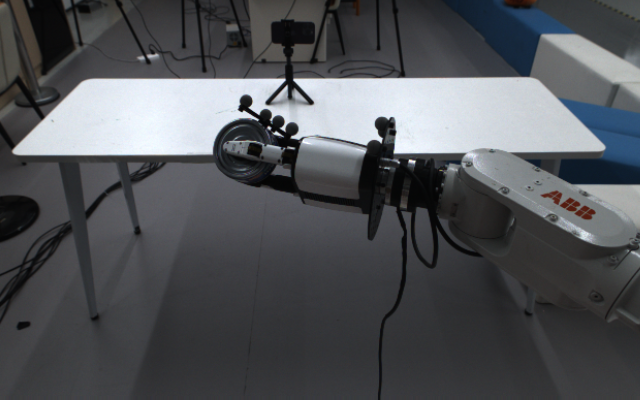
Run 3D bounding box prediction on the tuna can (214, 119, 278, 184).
[{"bbox_3d":[-0.098,-0.060,0.656,0.085,0.085,0.034,12,-5,14],"label":"tuna can"}]
